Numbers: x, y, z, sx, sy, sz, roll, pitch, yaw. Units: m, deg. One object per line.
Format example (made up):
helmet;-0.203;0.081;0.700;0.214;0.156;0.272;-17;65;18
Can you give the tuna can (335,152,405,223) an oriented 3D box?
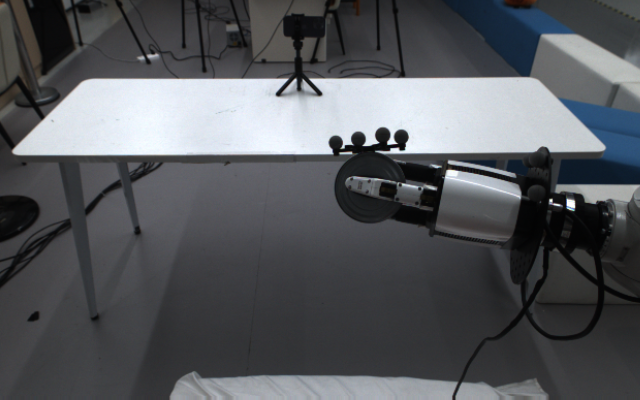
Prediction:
tuna can;0.064;-0.016;0.591;0.085;0.085;0.034;10;2;11
